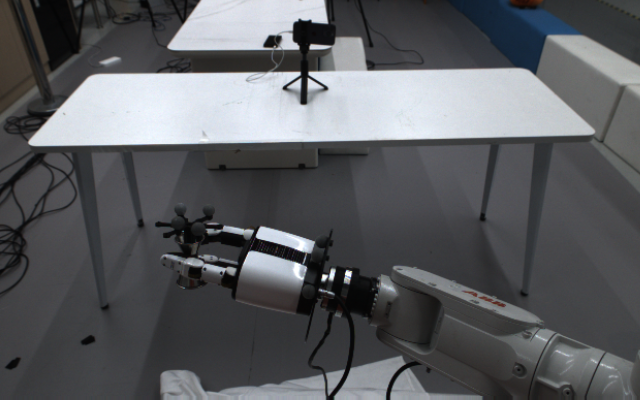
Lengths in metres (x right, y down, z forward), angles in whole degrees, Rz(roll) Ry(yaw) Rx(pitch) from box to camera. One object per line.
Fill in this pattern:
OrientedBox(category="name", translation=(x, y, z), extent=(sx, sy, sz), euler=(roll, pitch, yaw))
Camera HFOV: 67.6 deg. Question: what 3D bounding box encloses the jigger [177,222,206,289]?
OrientedBox(category="jigger", translation=(-0.177, 0.081, 0.669), extent=(0.043, 0.071, 0.043), euler=(2, 20, -1))
